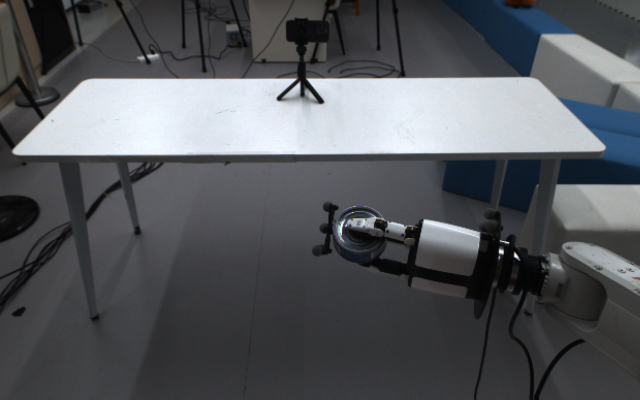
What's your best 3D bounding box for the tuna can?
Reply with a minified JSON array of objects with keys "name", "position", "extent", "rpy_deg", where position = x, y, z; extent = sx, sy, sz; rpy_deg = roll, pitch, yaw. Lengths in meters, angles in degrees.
[{"name":"tuna can","position":[0.065,0.055,0.744],"extent":[0.085,0.034,0.085],"rpy_deg":[-1,58,2]}]
